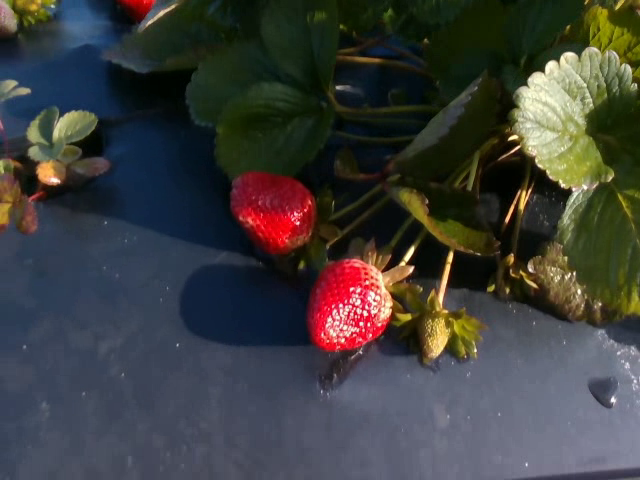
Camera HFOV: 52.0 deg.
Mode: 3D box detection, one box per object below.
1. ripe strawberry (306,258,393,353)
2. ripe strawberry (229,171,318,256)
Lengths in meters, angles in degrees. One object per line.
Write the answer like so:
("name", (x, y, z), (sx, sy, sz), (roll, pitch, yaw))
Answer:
("ripe strawberry", (0.012, 0.031, 0.278), (0.039, 0.043, 0.053), (-53, -5, 38))
("ripe strawberry", (-0.022, -0.015, 0.320), (0.054, 0.048, 0.039), (19, -14, -25))
